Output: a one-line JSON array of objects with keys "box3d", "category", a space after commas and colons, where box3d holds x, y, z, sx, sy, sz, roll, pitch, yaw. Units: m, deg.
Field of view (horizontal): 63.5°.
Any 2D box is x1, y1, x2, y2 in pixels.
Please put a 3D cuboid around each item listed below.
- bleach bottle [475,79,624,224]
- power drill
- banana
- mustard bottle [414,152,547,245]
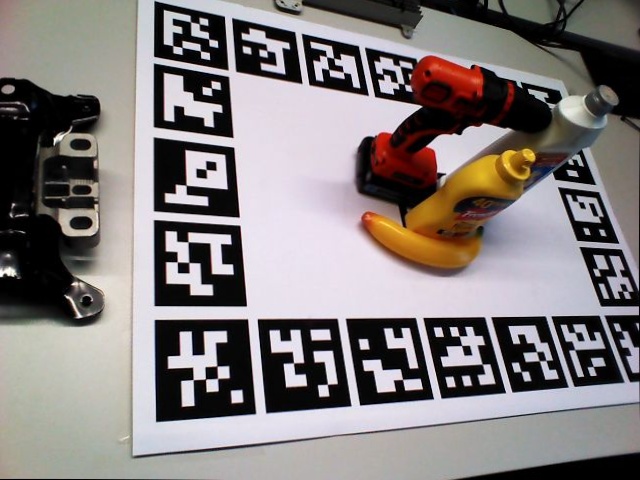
[{"box3d": [0.276, -0.112, 0.680, 0.102, 0.252, 0.067, 6, 59, -22], "category": "bleach bottle"}, {"box3d": [0.172, -0.129, 0.645, 0.184, 0.188, 0.057, 16, 60, -19], "category": "power drill"}, {"box3d": [0.159, 0.006, 0.703, 0.197, 0.039, 0.074, 8, 65, -19], "category": "banana"}, {"box3d": [0.208, -0.054, 0.651, 0.096, 0.193, 0.058, 4, 65, -24], "category": "mustard bottle"}]
